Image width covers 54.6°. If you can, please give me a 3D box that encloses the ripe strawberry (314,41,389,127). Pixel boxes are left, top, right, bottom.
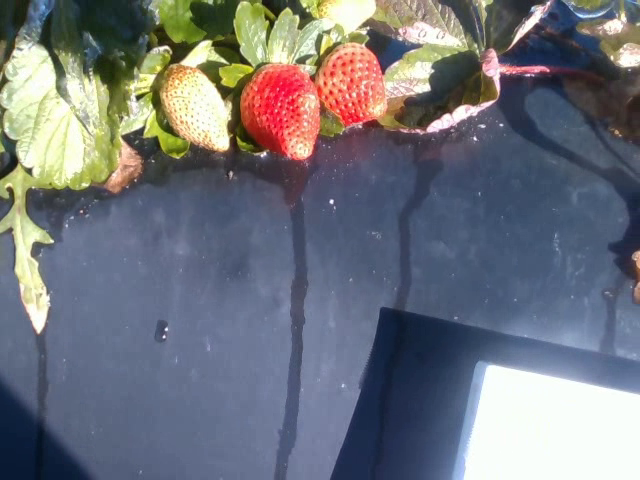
[{"bbox_3d":[0.017,-0.068,0.274,0.041,0.036,0.030,39,-3,10],"label":"ripe strawberry"}]

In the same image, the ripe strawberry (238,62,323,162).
[{"bbox_3d":[-0.012,-0.047,0.255,0.036,0.052,0.040,-26,-43,-1],"label":"ripe strawberry"}]
